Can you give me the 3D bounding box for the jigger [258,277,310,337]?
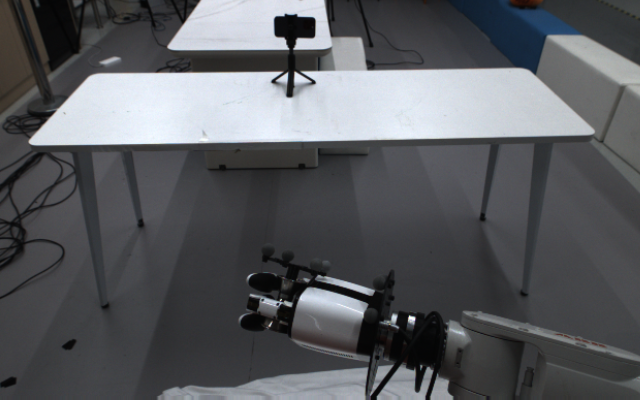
[{"bbox_3d":[-0.044,0.137,0.639,0.043,0.071,0.043,16,-7,2],"label":"jigger"}]
